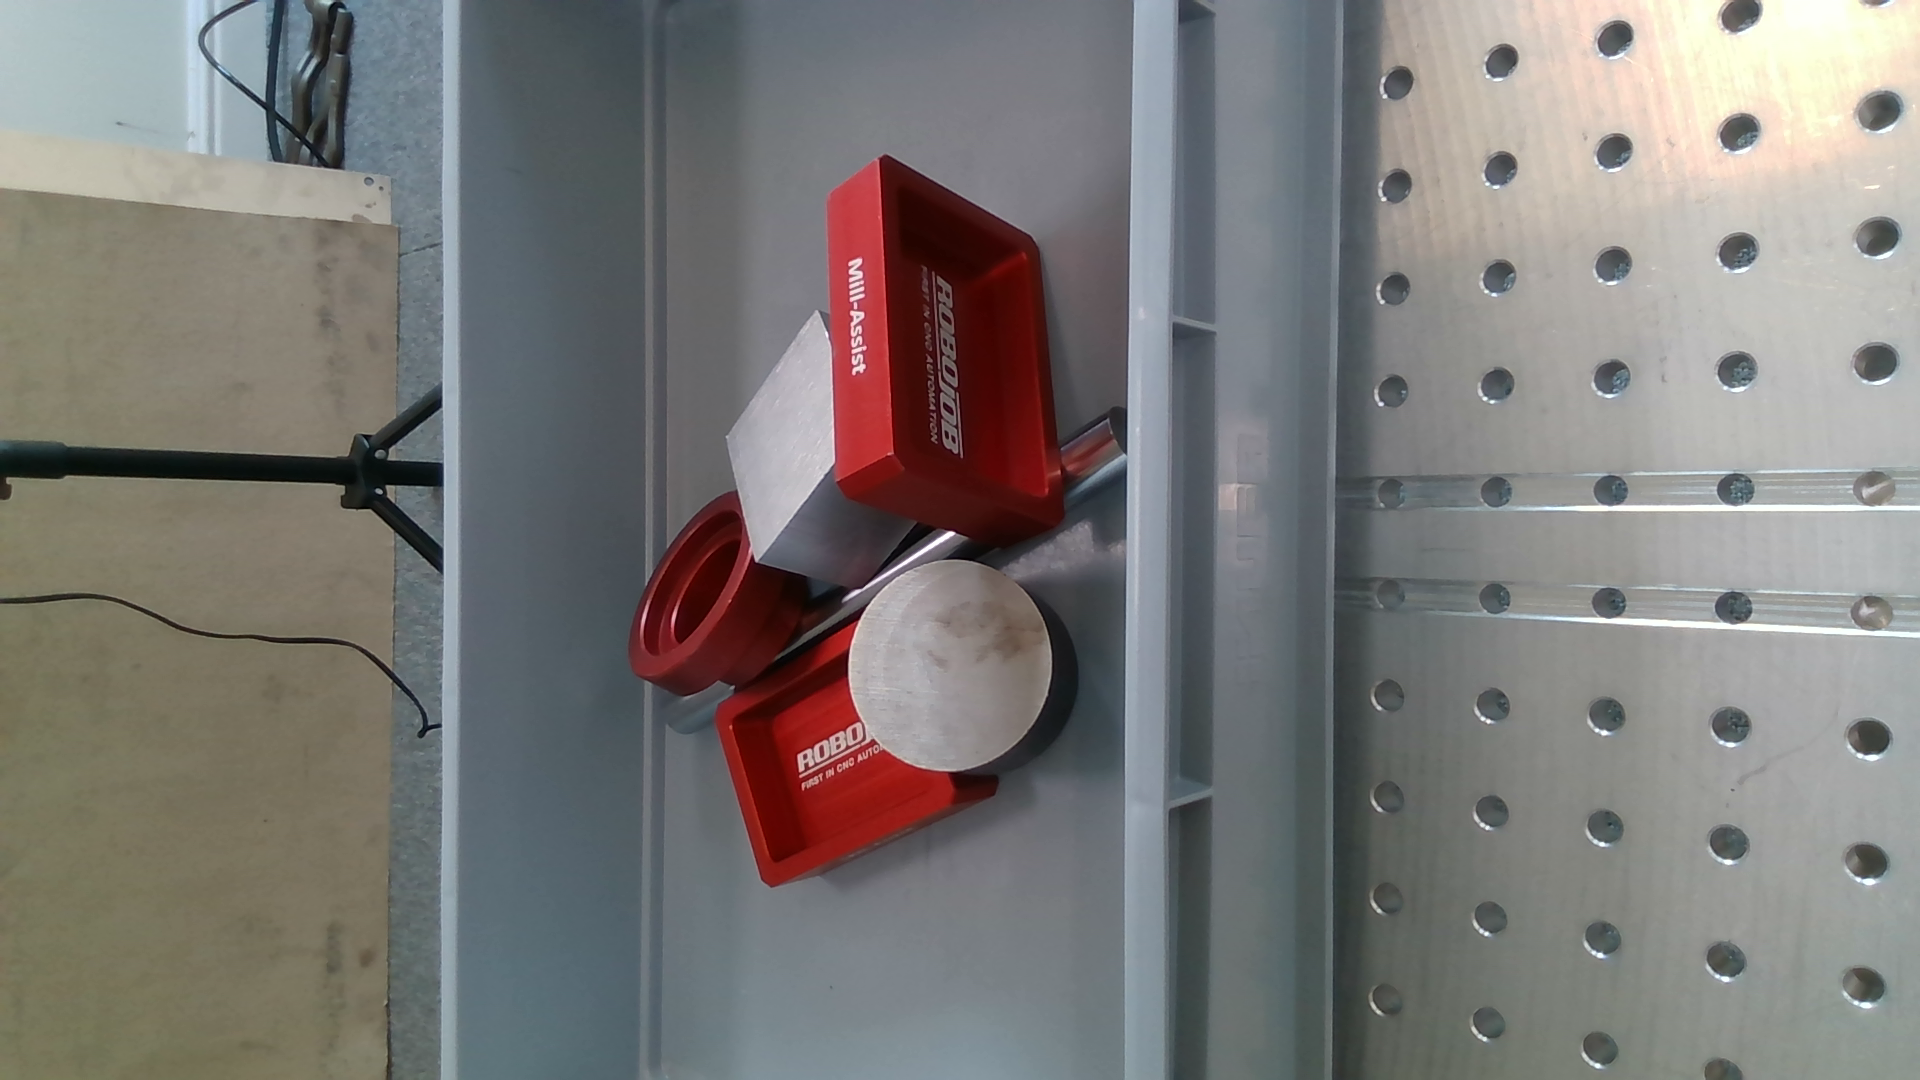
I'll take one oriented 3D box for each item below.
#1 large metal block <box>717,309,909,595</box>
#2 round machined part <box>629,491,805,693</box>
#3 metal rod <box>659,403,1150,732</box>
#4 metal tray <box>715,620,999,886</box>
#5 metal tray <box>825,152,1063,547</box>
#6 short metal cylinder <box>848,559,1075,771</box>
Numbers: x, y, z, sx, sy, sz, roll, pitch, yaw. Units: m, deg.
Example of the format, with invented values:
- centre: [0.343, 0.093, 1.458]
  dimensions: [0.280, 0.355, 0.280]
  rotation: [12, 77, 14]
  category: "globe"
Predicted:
- centre: [-0.056, -0.037, 0.588]
  dimensions: [0.080, 0.050, 0.080]
  rotation: [-50, 43, 29]
  category: "large metal block"
- centre: [-0.109, 0.028, 0.644]
  dimensions: [0.098, 0.042, 0.098]
  rotation: [-36, 36, 32]
  category: "round machined part"
- centre: [-0.039, 0.023, 0.614]
  dimensions: [0.300, 0.025, 0.025]
  rotation: [-32, 71, 36]
  category: "metal rod"
- centre: [-0.050, 0.093, 0.621]
  dimensions: [0.130, 0.030, 0.090]
  rotation: [-32, 71, 36]
  category: "metal tray"
- centre: [-0.006, -0.071, 0.524]
  dimensions: [0.030, 0.090, 0.130]
  rotation: [-23, 61, 40]
  category: "metal tray"
- centre: [0.002, 0.051, 0.544]
  dimensions: [0.080, 0.050, 0.080]
  rotation: [-3, 78, 16]
  category: "short metal cylinder"
